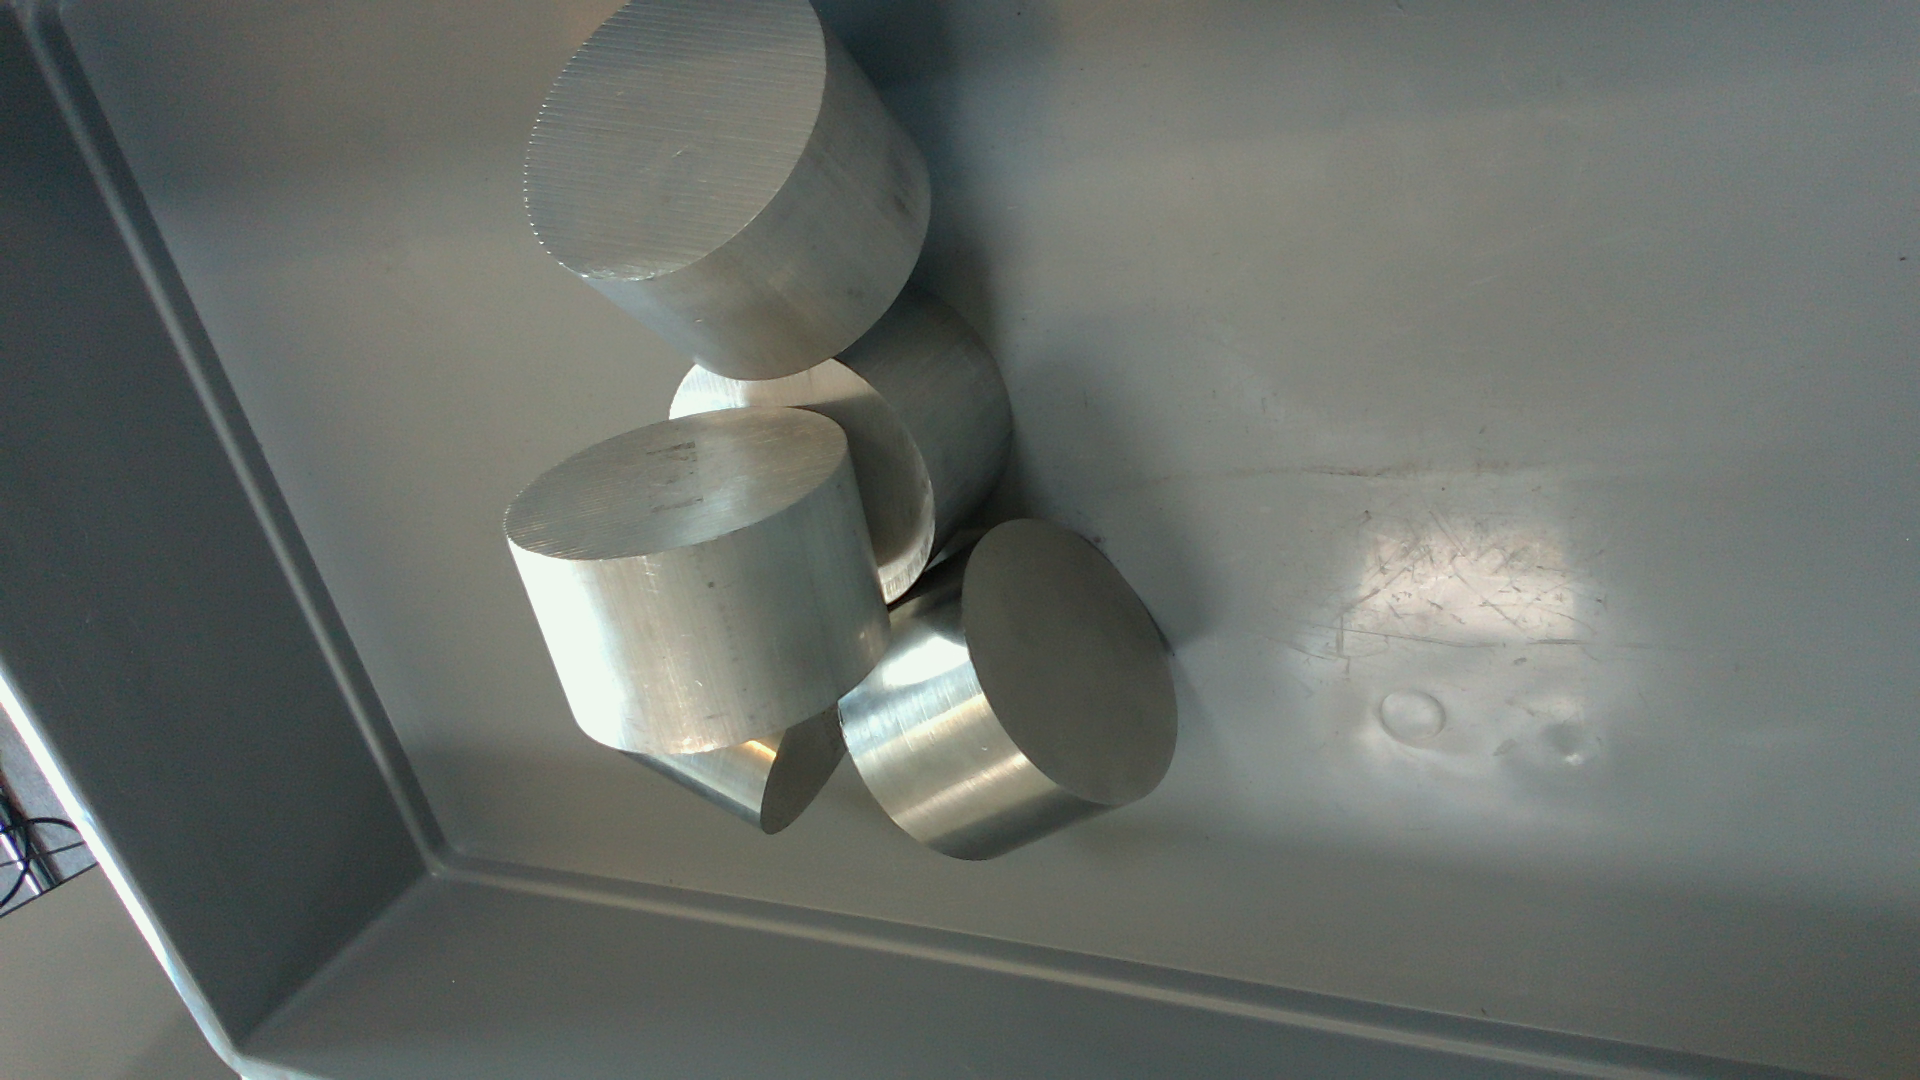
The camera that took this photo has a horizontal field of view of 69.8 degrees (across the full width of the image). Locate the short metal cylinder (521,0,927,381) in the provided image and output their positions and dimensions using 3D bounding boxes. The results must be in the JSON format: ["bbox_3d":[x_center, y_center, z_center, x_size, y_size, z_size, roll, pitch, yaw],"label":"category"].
[{"bbox_3d":[-0.055,-0.085,0.325,0.080,0.080,0.050,4,163,26],"label":"short metal cylinder"}]

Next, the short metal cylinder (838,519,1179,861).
[{"bbox_3d":[0.014,0.041,0.374,0.050,0.080,0.080,-32,100,39],"label":"short metal cylinder"}]

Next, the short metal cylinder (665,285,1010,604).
[{"bbox_3d":[-0.033,-0.026,0.375,0.080,0.050,0.080,13,124,21],"label":"short metal cylinder"}]

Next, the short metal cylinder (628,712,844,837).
[{"bbox_3d":[-0.060,0.041,0.413,0.050,0.080,0.080,26,128,13],"label":"short metal cylinder"}]

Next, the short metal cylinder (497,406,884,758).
[{"bbox_3d":[-0.062,0.007,0.328,0.080,0.080,0.050,3,120,27],"label":"short metal cylinder"}]
